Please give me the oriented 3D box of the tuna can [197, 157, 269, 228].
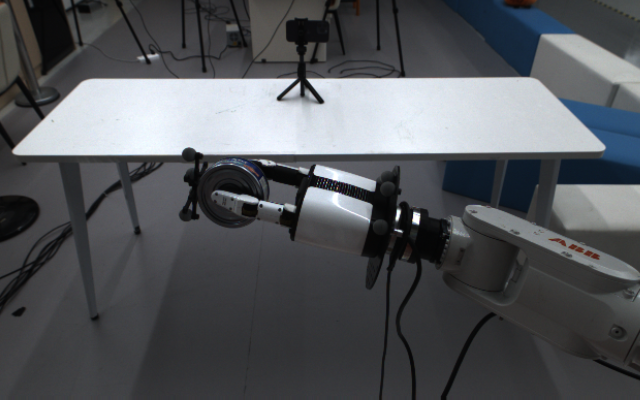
[{"bbox_3d":[-0.107,-0.010,0.605,0.085,0.085,0.034,4,18,3],"label":"tuna can"}]
